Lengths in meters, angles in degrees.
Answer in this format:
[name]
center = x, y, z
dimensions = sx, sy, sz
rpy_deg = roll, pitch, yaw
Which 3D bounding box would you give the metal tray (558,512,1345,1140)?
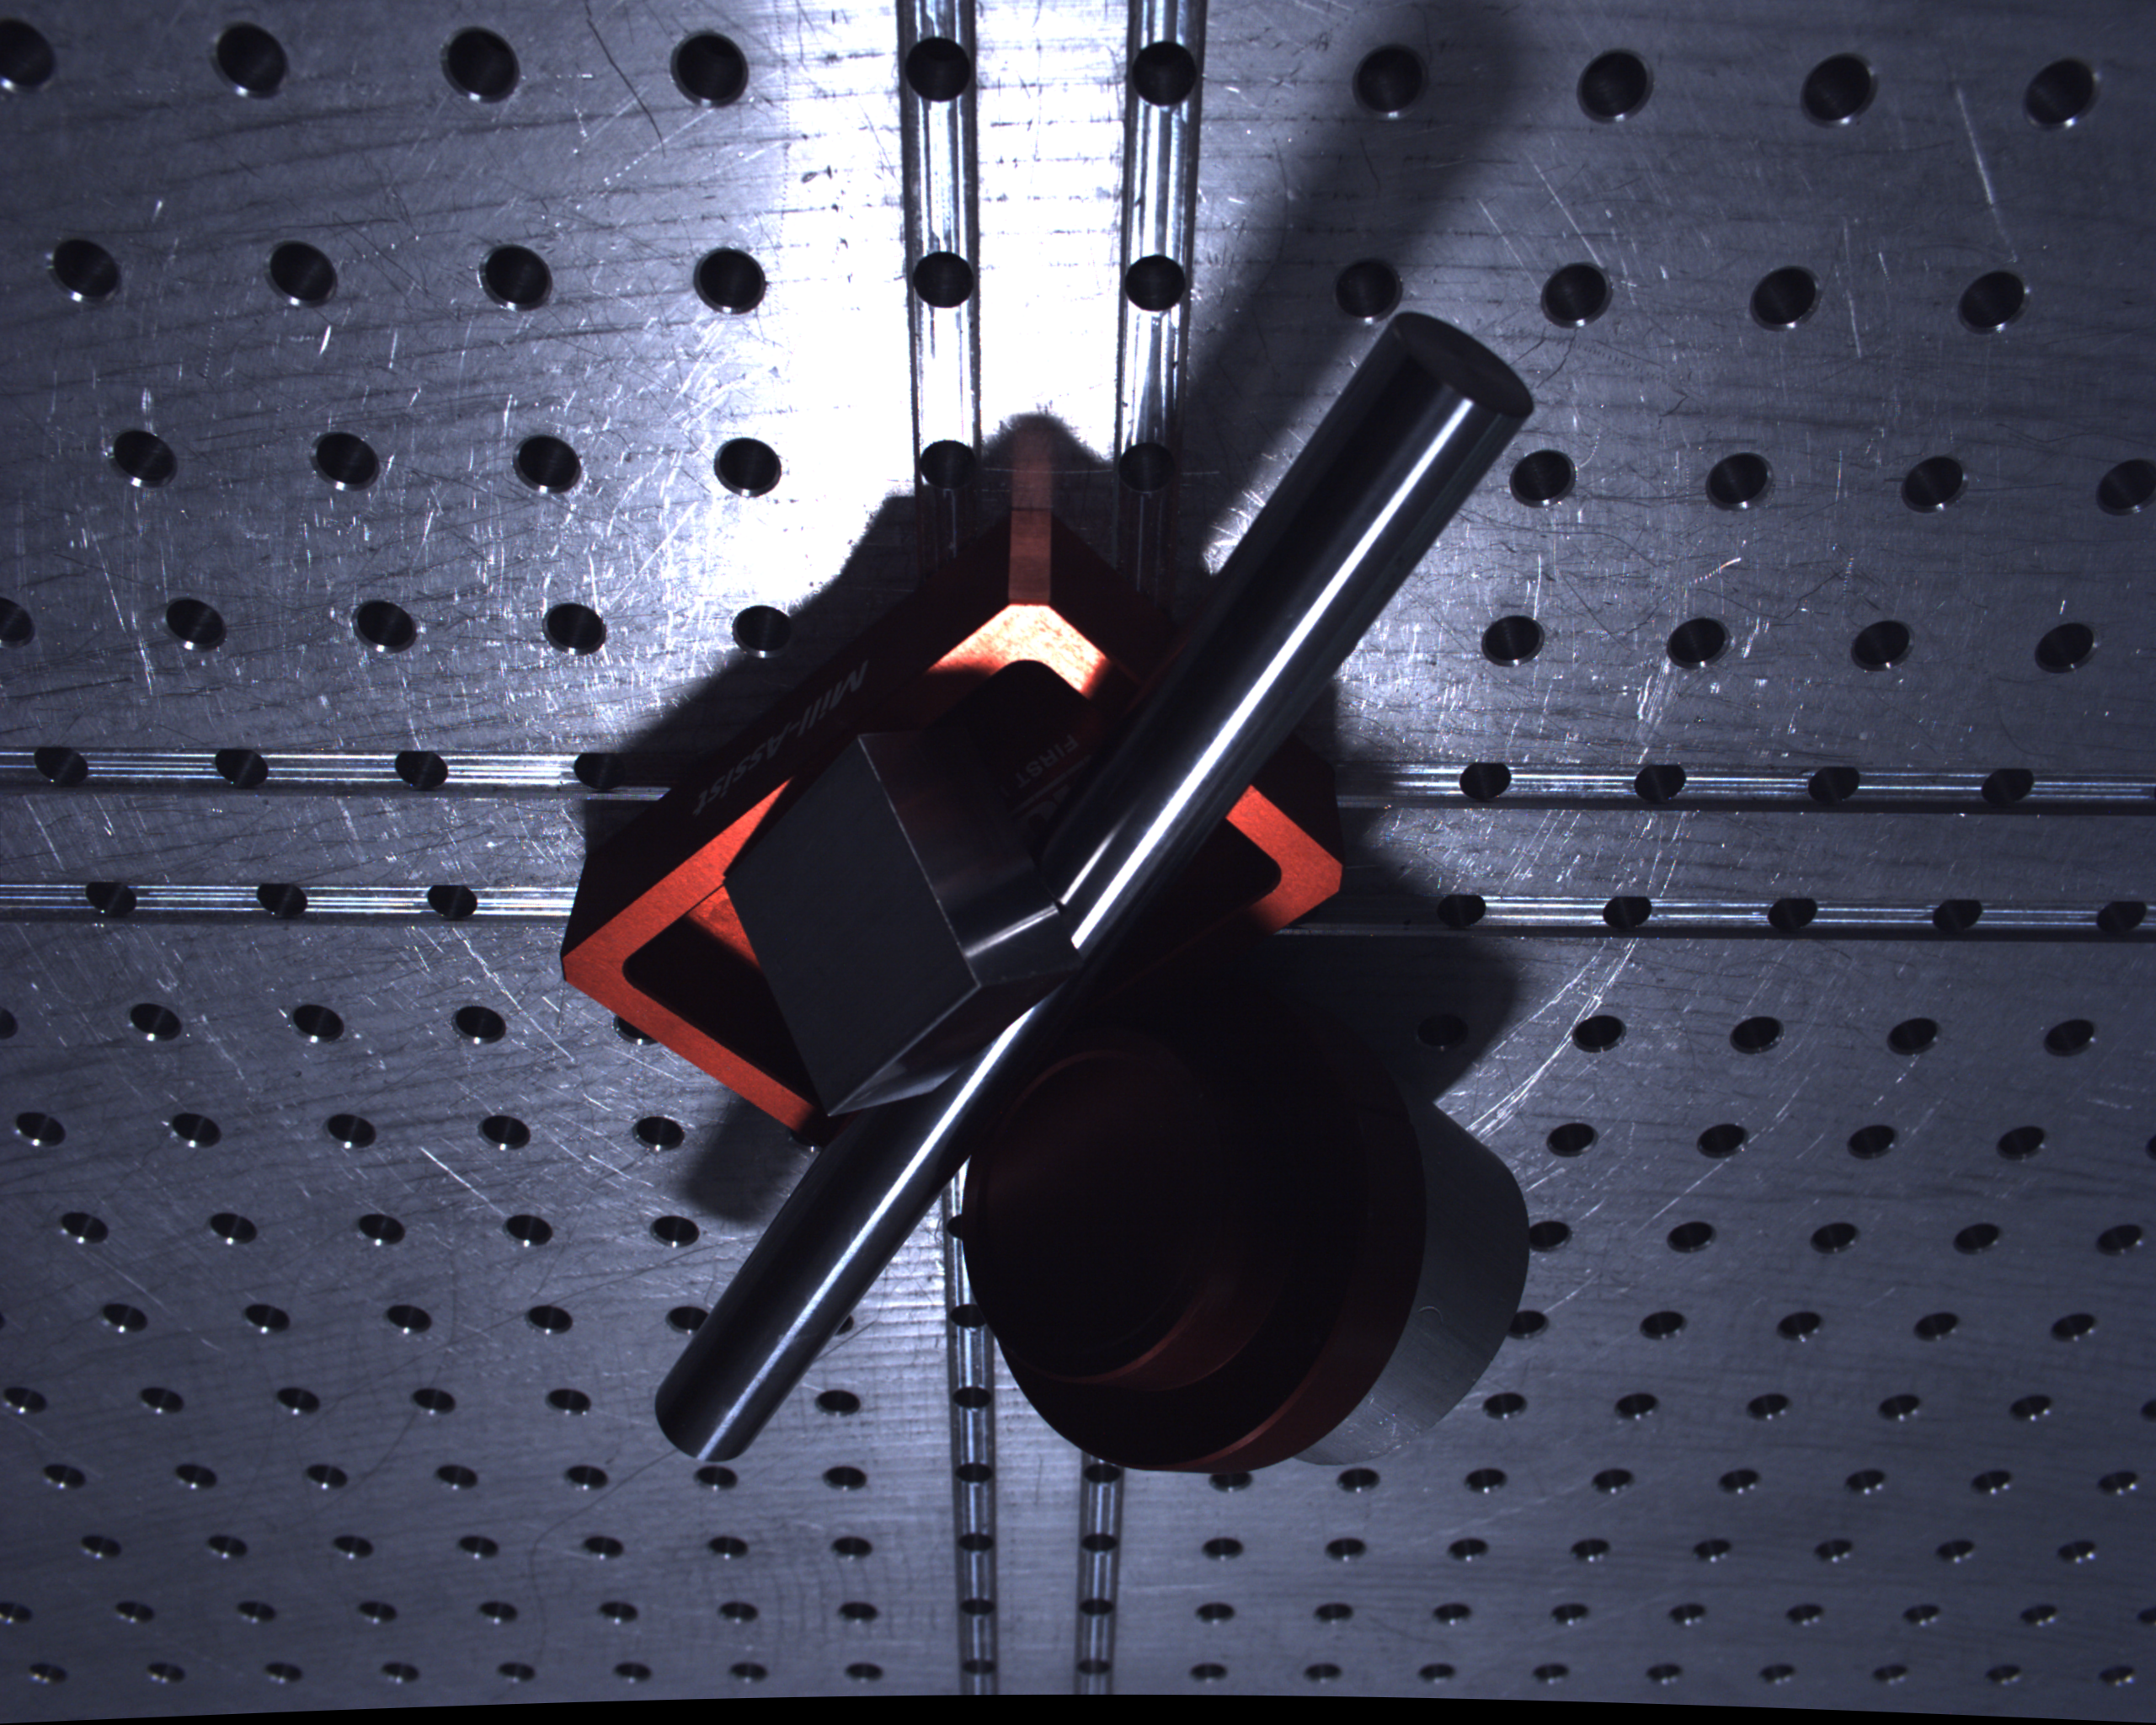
[metal tray]
center = -0.025, 0.002, 0.409
dimensions = 0.130, 0.030, 0.090
rpy_deg = -35, 122, 26

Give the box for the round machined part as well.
[round machined part]
center = 0.015, 0.069, 0.409
dimensions = 0.098, 0.098, 0.042
rpy_deg = -38, 143, 27

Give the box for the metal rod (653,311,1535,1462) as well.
[metal rod]
center = -0.014, 0.026, 0.394
dimensions = 0.025, 0.025, 0.298
rpy_deg = 22, 127, -18

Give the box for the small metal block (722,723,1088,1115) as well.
[small metal block]
center = -0.032, 0.010, 0.375
dimensions = 0.025, 0.050, 0.050
rpy_deg = -9, 156, -45

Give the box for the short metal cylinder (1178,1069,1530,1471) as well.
[short metal cylinder]
center = 0.048, 0.081, 0.444
dimensions = 0.080, 0.080, 0.050
rpy_deg = -36, 122, 26
